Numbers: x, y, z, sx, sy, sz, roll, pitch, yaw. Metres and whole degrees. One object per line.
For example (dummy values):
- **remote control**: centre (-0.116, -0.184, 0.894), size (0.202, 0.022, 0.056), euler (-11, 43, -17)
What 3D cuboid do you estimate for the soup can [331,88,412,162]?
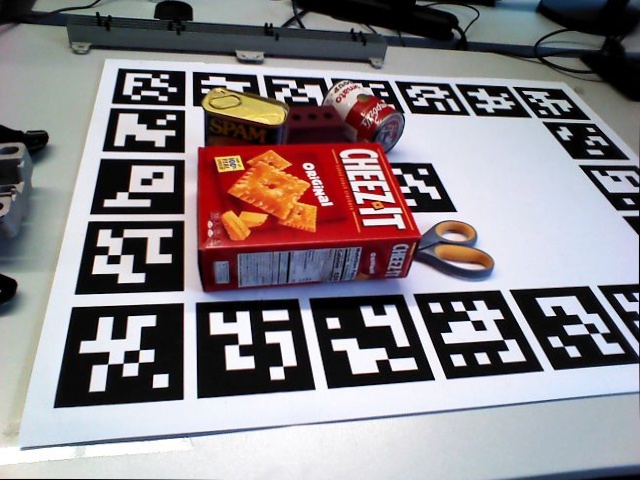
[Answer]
- **soup can**: centre (0.070, -0.162, 0.722), size (0.102, 0.068, 0.067), euler (35, 51, 27)

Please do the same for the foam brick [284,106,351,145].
- **foam brick**: centre (-0.006, -0.140, 0.688), size (0.078, 0.051, 0.052), euler (-9, 51, -19)

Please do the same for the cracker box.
- **cracker box**: centre (-0.017, -0.030, 0.547), size (0.213, 0.072, 0.163), euler (-7, 48, -12)

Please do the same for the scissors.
- **scissors**: centre (0.097, 0.015, 0.570), size (0.202, 0.016, 0.087), euler (-5, 49, -15)

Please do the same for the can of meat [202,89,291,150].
- **can of meat**: centre (-0.091, -0.127, 0.633), size (0.102, 0.084, 0.057), euler (10, 47, -3)
